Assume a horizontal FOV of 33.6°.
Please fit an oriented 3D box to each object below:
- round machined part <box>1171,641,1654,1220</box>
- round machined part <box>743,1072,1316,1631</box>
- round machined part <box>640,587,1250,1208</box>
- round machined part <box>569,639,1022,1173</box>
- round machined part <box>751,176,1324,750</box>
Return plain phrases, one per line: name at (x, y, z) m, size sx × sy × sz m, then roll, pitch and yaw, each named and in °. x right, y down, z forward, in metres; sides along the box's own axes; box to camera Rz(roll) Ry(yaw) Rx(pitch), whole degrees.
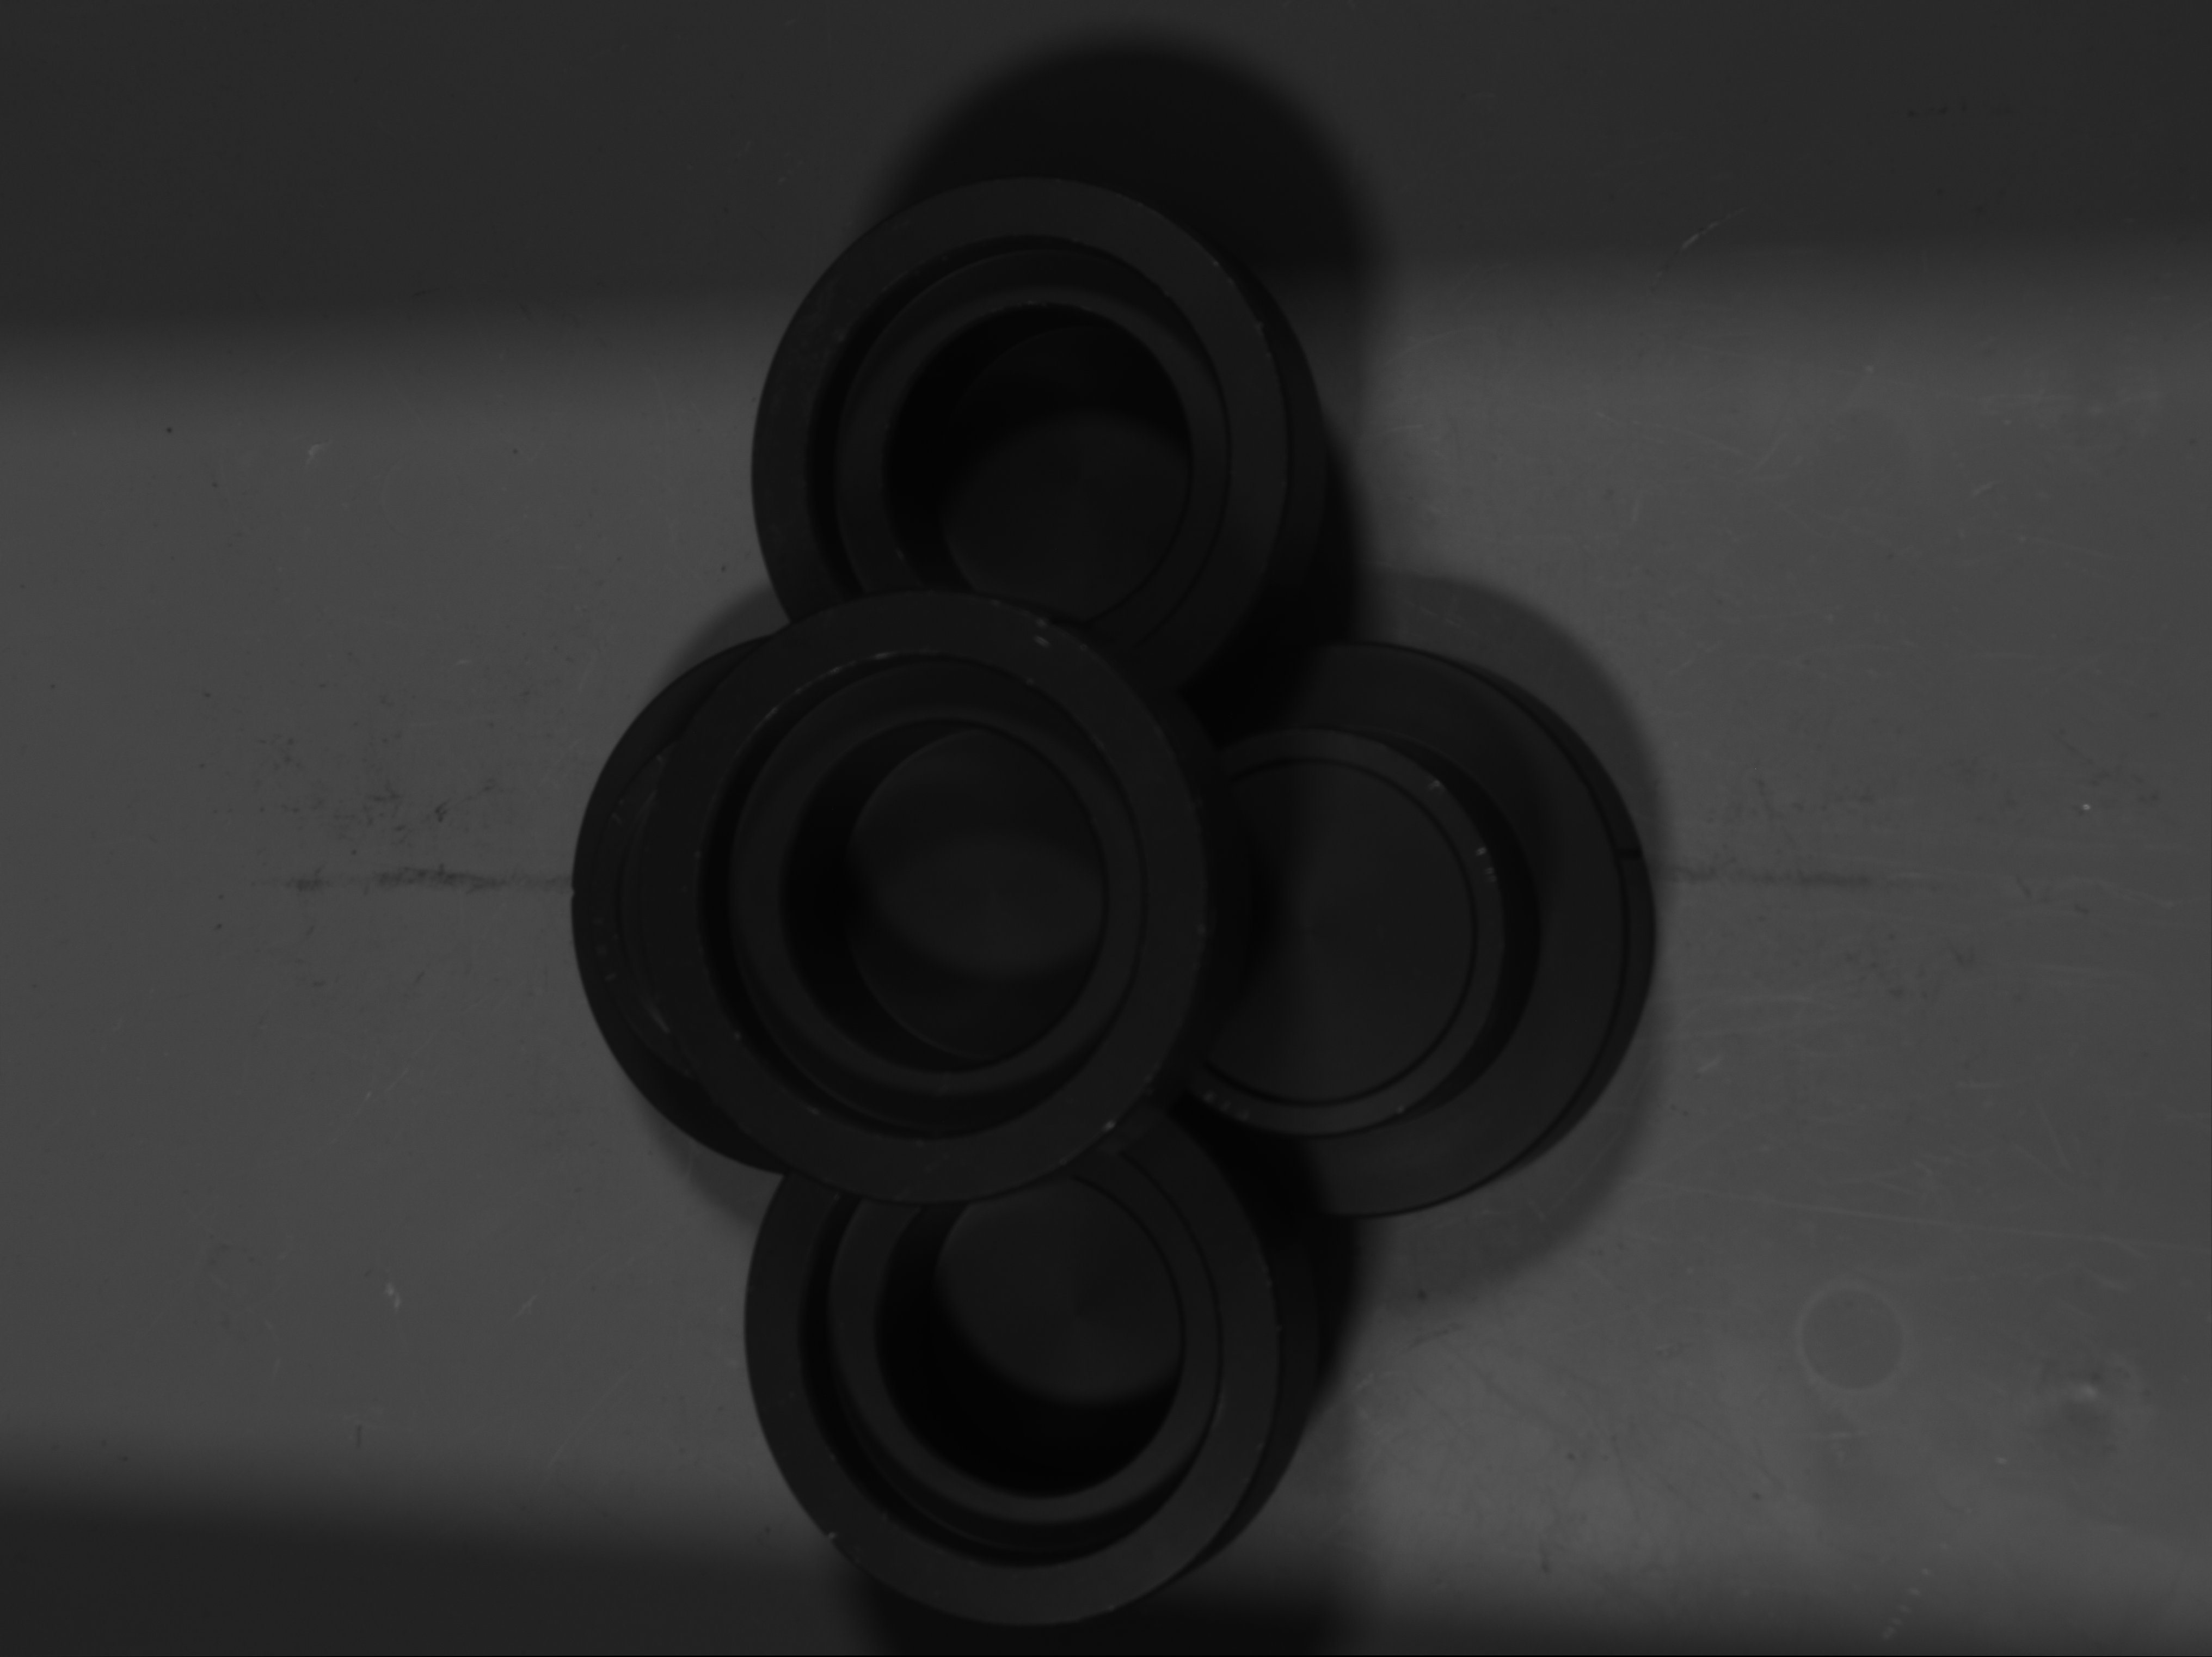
round machined part at (0.040, 0.017, 0.619) m, size 0.098 × 0.042 × 0.098 m, roll 0°, pitch 90°, yaw 20°
round machined part at (-0.010, 0.086, 0.637) m, size 0.098 × 0.042 × 0.098 m, roll 0°, pitch 90°, yaw 20°
round machined part at (-0.023, 0.011, 0.597) m, size 0.098 × 0.042 × 0.098 m, roll 0°, pitch 90°, yaw 20°
round machined part at (-0.052, 0.014, 0.653) m, size 0.098 × 0.042 × 0.098 m, roll 0°, pitch 90°, yaw 20°
round machined part at (-0.009, -0.061, 0.637) m, size 0.098 × 0.042 × 0.098 m, roll 0°, pitch 90°, yaw 20°
